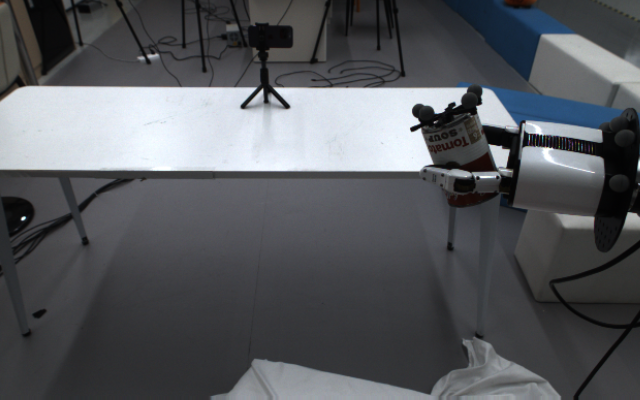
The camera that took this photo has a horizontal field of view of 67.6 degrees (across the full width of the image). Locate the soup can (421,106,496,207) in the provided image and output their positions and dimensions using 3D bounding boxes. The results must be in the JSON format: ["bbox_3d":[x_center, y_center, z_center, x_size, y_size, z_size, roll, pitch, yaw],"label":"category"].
[{"bbox_3d":[0.171,-0.052,0.579,0.067,0.101,0.067,-23,16,7],"label":"soup can"}]
